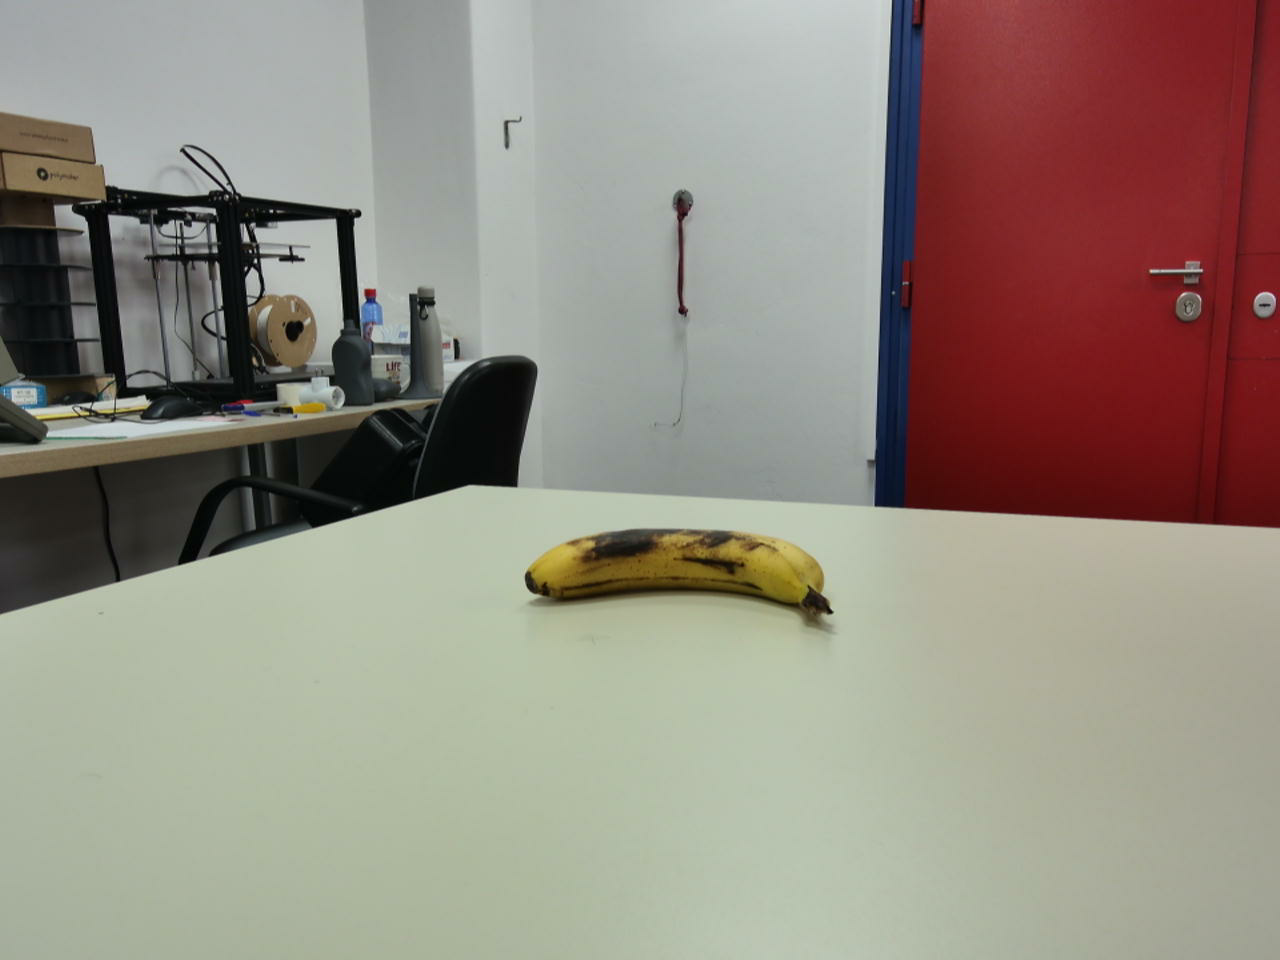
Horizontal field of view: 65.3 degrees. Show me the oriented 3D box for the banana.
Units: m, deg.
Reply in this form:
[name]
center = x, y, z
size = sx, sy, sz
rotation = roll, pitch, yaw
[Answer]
[banana]
center = 0.031, 0.055, 0.609
size = 0.187, 0.039, 0.094
rotation = 2, 7, 21
